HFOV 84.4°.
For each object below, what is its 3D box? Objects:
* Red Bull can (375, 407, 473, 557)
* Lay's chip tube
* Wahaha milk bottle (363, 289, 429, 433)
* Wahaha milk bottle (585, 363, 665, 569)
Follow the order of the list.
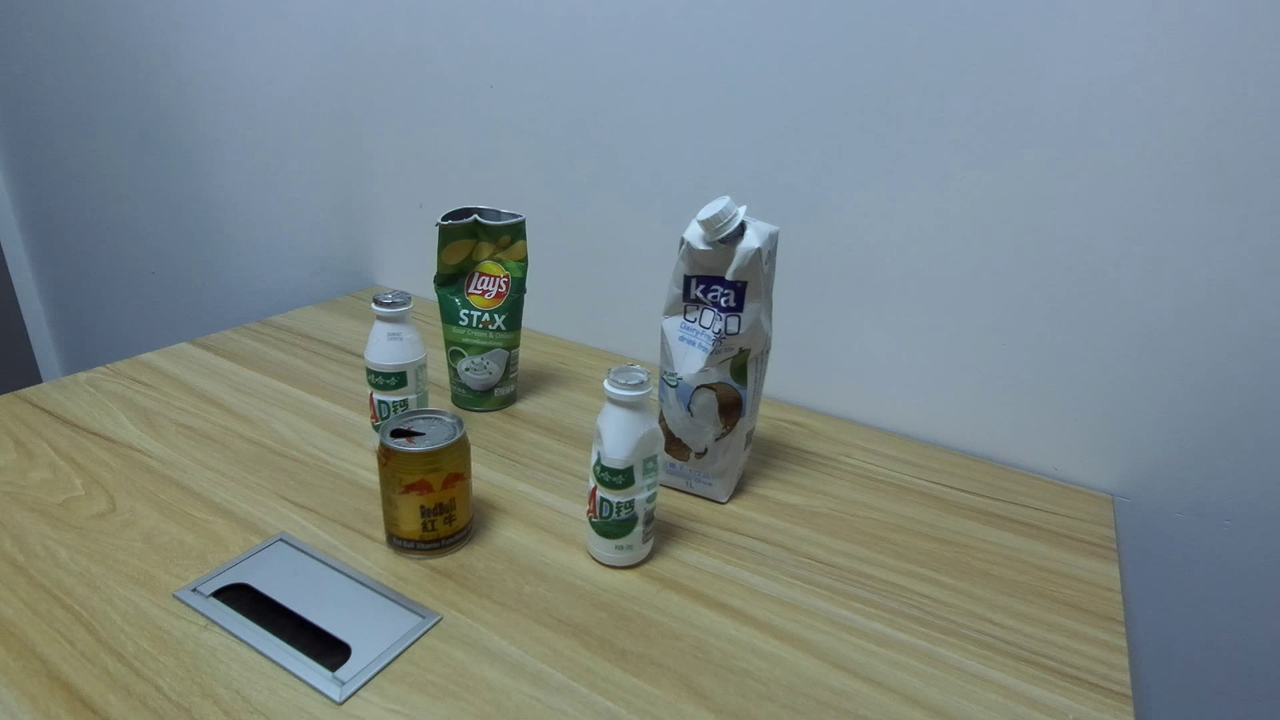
[{"bbox_3d":[-0.159,0.092,0.526,0.067,0.093,0.067,3,23,-1],"label":"Red Bull can"},{"bbox_3d":[-0.159,-0.050,0.711,0.077,0.201,0.069,-13,29,-28],"label":"Lay's chip tube"},{"bbox_3d":[-0.215,0.014,0.624,0.053,0.147,0.053,2,23,-1],"label":"Wahaha milk bottle"},{"bbox_3d":[-0.013,0.076,0.506,0.055,0.149,0.055,2,26,-1],"label":"Wahaha milk bottle"}]
